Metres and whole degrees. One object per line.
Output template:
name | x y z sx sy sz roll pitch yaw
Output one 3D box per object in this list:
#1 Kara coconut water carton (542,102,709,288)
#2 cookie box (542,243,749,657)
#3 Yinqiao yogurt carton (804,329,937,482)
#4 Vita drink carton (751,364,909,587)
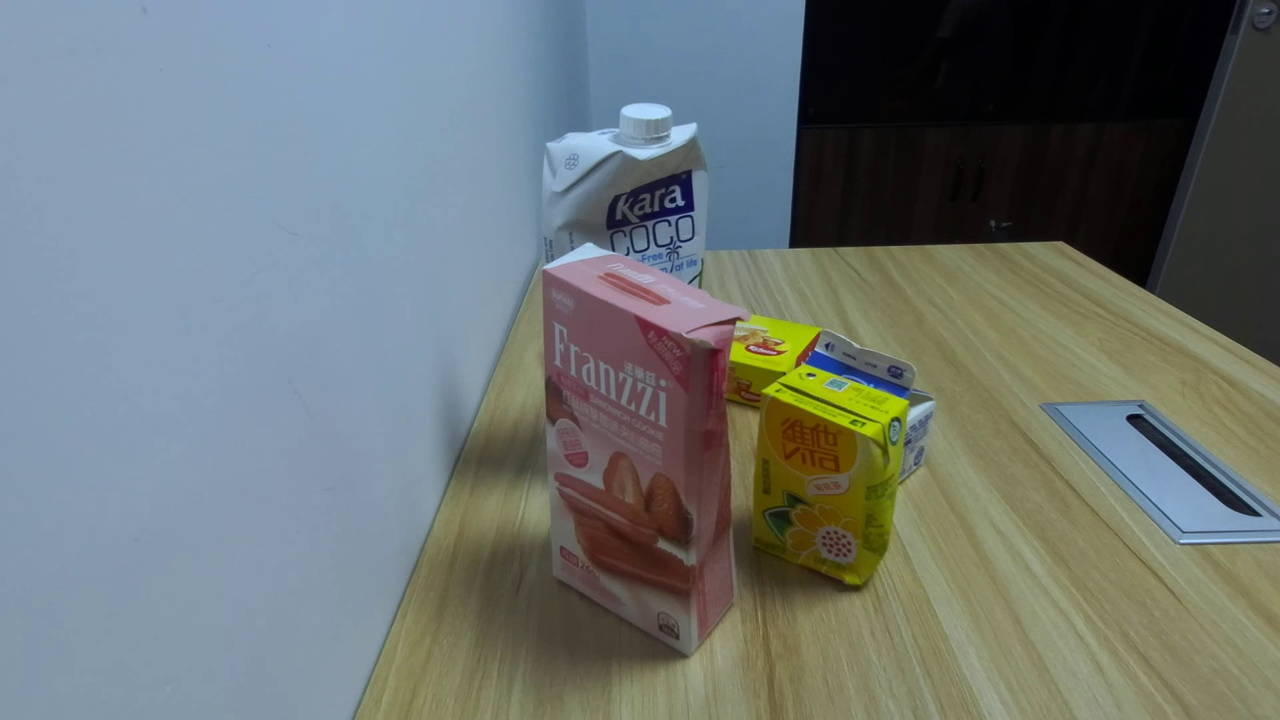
Kara coconut water carton | -0.008 -0.041 0.457 0.069 0.239 0.115 27 40 37
cookie box | 0.002 0.048 0.347 0.118 0.184 0.056 23 36 39
Yinqiao yogurt carton | 0.145 0.031 0.468 0.074 0.092 0.075 -23 35 -39
Vita drink carton | 0.104 0.066 0.384 0.076 0.109 0.043 23 37 38
